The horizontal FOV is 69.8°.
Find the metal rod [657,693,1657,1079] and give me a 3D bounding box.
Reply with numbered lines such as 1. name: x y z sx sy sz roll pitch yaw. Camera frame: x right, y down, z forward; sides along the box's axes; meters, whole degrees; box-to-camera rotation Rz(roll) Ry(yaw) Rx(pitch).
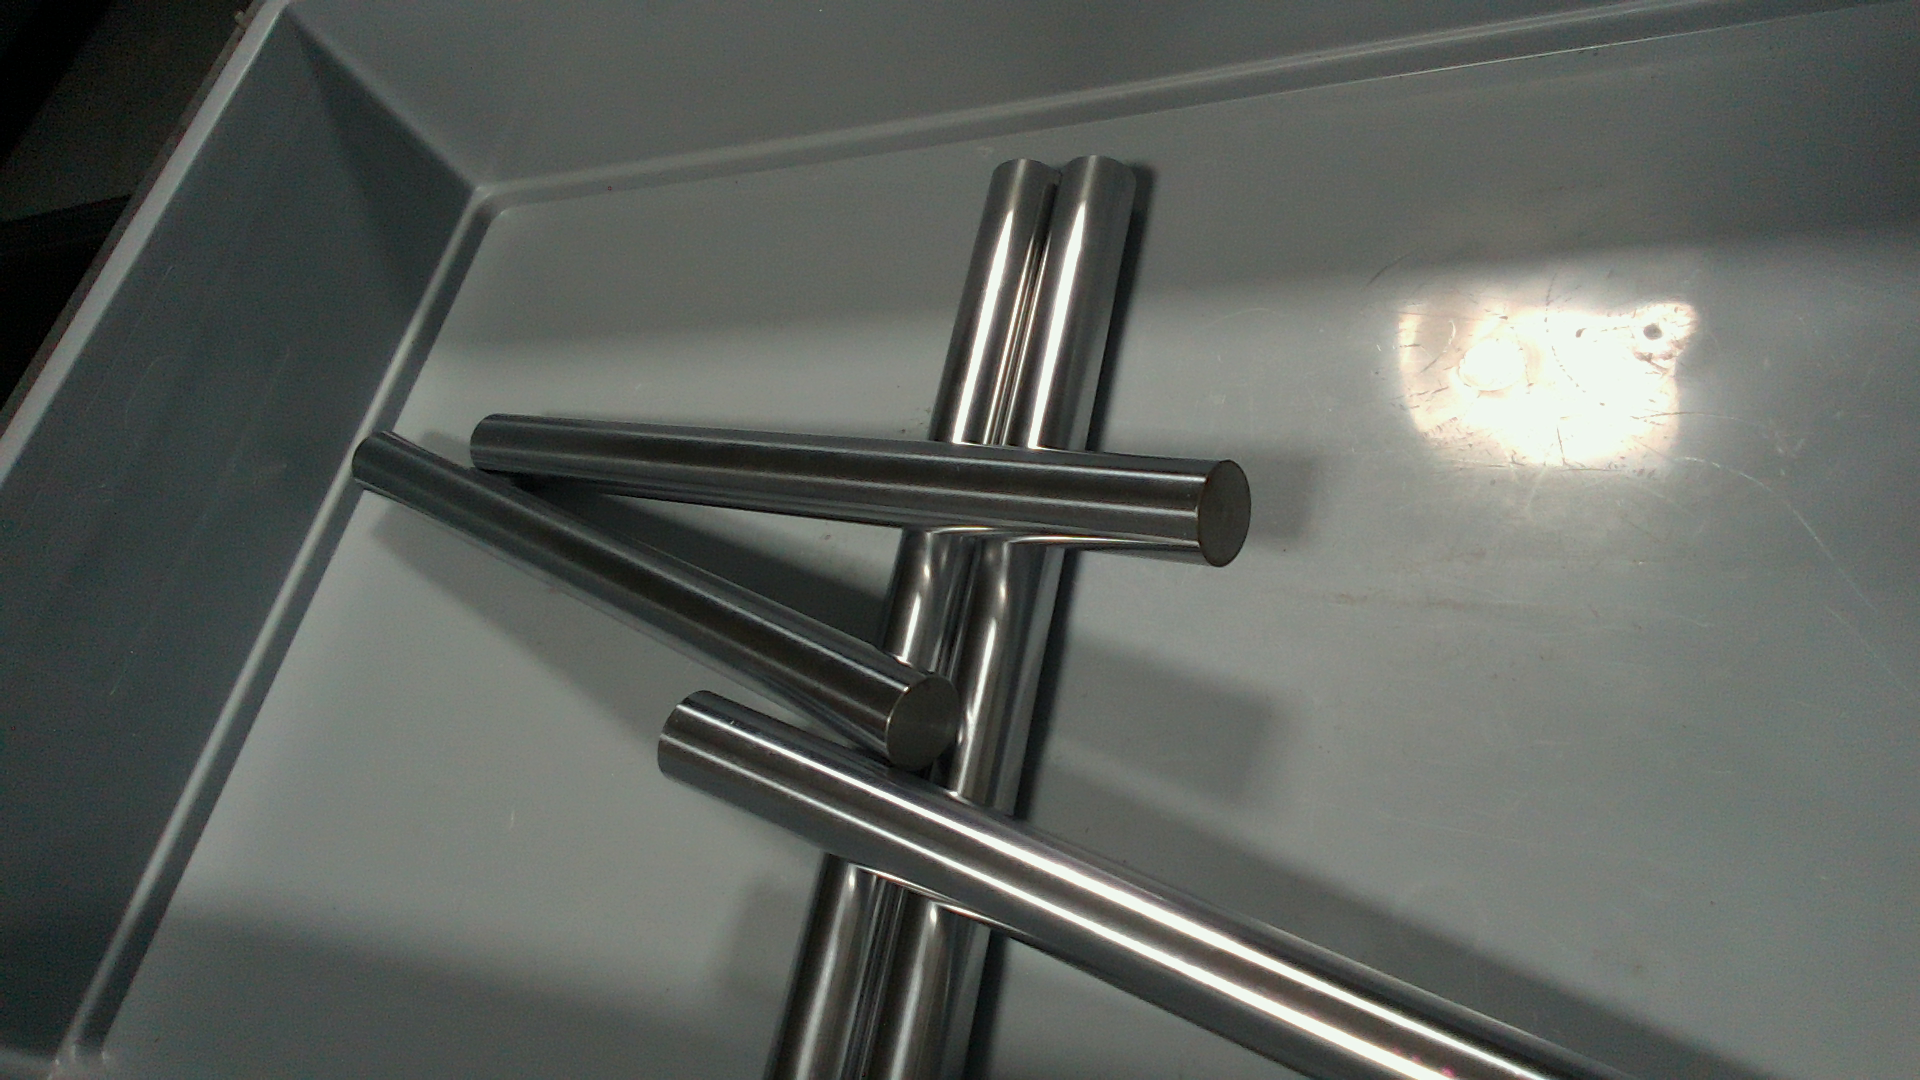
1. metal rod: 0.056 0.089 0.285 0.299 0.025 0.025 17 70 29

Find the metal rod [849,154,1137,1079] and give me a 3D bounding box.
1. metal rod: 0.012 0.018 0.373 0.025 0.025 0.300 -1 61 28

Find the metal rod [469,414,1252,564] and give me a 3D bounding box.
1. metal rod: -0.054 -0.020 0.409 0.299 0.025 0.025 7 65 39

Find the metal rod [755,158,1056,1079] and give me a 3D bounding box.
1. metal rod: -0.010 0.016 0.386 0.025 0.025 0.300 -1 61 28

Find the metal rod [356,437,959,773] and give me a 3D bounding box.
1. metal rod: -0.115 0.008 0.433 0.299 0.025 0.025 19 72 41
